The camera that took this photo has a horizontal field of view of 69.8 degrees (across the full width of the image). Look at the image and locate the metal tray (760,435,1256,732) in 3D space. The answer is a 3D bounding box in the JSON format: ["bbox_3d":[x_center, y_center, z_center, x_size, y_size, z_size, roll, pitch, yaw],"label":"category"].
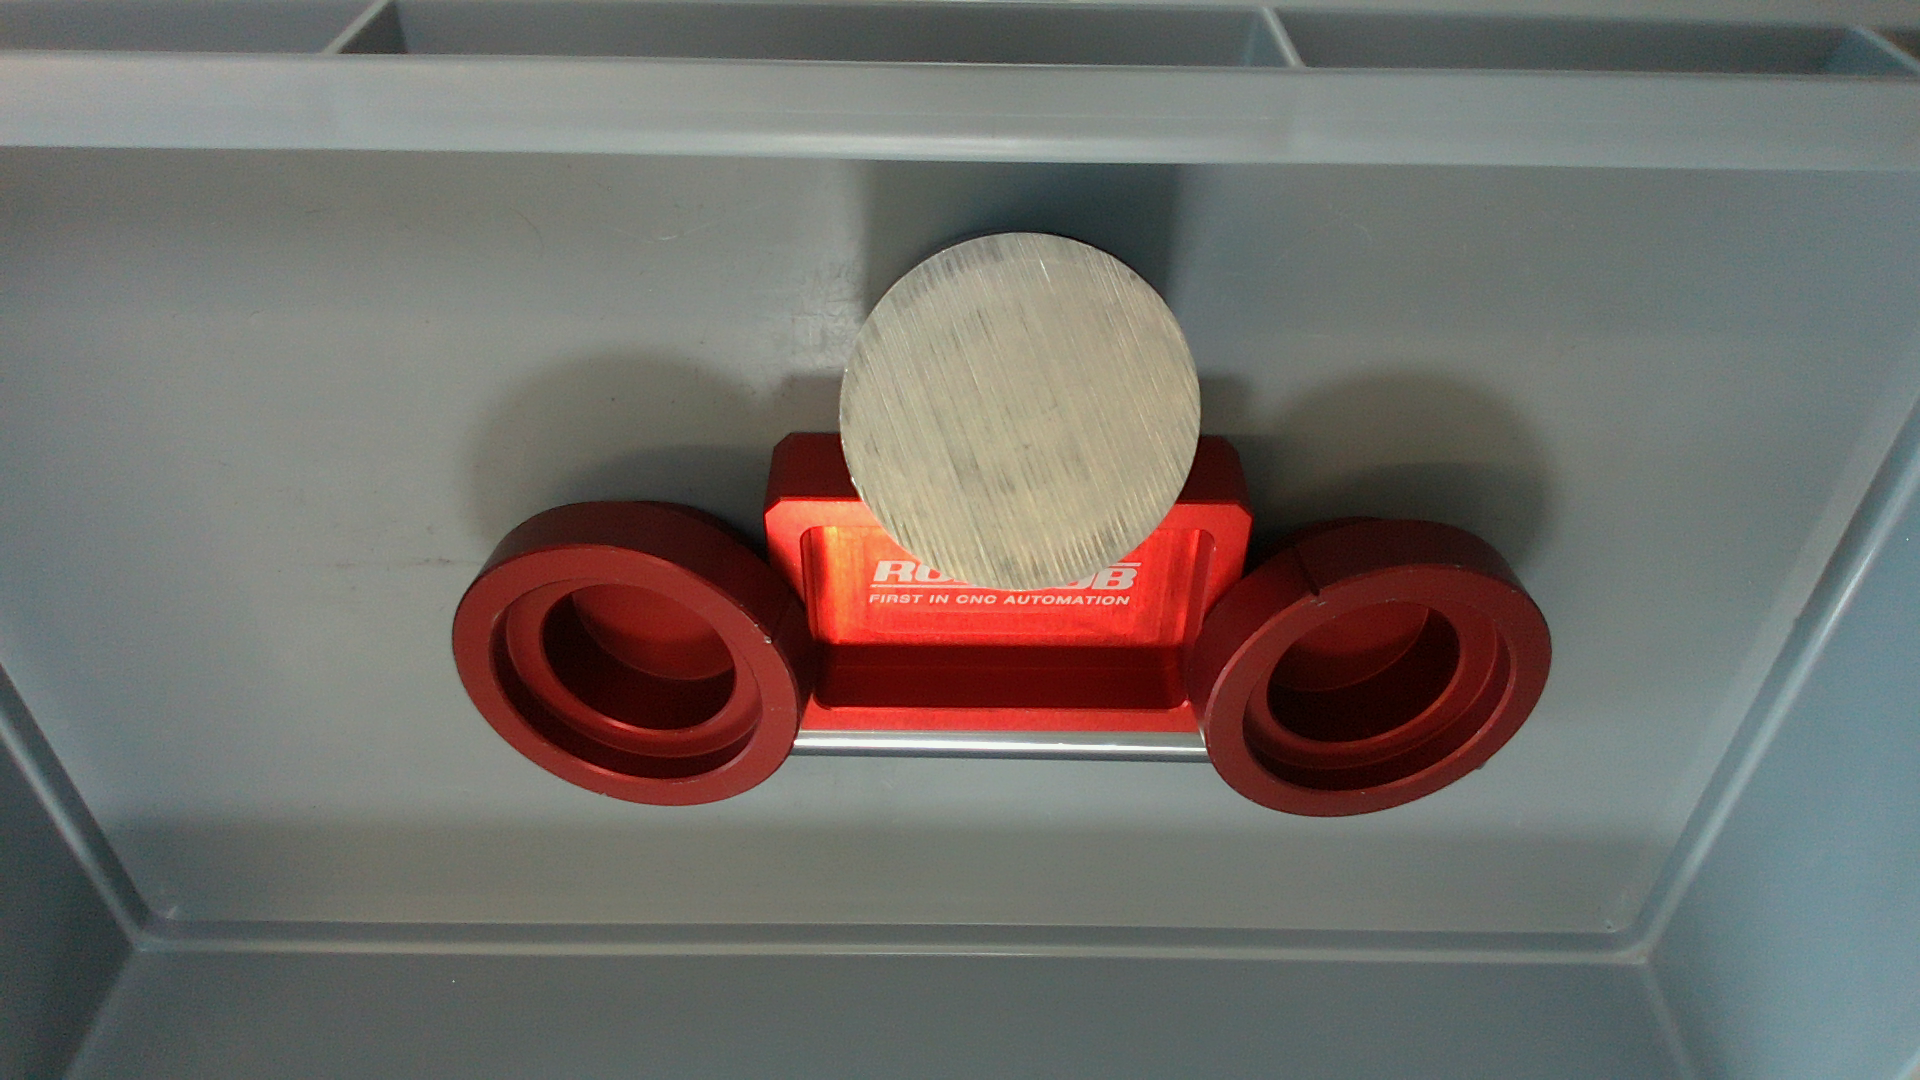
[{"bbox_3d":[0.012,0.015,0.397,0.130,0.030,0.090,0,131,-1],"label":"metal tray"}]

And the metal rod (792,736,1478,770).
[{"bbox_3d":[0.014,0.058,0.438,0.300,0.025,0.025,1,130,-1],"label":"metal rod"}]

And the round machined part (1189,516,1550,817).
[{"bbox_3d":[0.114,0.032,0.399,0.098,0.042,0.098,-5,129,-6],"label":"round machined part"}]

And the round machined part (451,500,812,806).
[{"bbox_3d":[-0.089,0.028,0.394,0.098,0.042,0.098,5,128,6],"label":"round machined part"}]

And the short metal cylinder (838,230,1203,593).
[{"bbox_3d":[0.013,-0.033,0.326,0.080,0.050,0.080,0,104,0],"label":"short metal cylinder"}]
